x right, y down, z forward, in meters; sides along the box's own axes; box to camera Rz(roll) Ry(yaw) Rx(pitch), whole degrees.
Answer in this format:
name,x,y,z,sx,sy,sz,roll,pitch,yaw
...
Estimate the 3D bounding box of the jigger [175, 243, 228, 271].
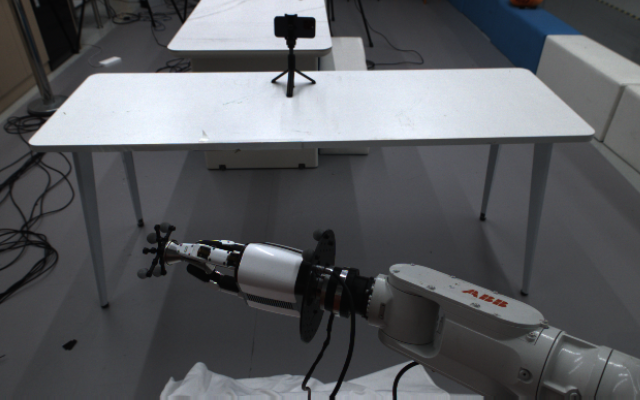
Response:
name,x,y,z,sx,sy,sz,roll,pitch,yaw
jigger,-0.186,0.080,0.720,0.071,0.043,0.043,8,35,13
